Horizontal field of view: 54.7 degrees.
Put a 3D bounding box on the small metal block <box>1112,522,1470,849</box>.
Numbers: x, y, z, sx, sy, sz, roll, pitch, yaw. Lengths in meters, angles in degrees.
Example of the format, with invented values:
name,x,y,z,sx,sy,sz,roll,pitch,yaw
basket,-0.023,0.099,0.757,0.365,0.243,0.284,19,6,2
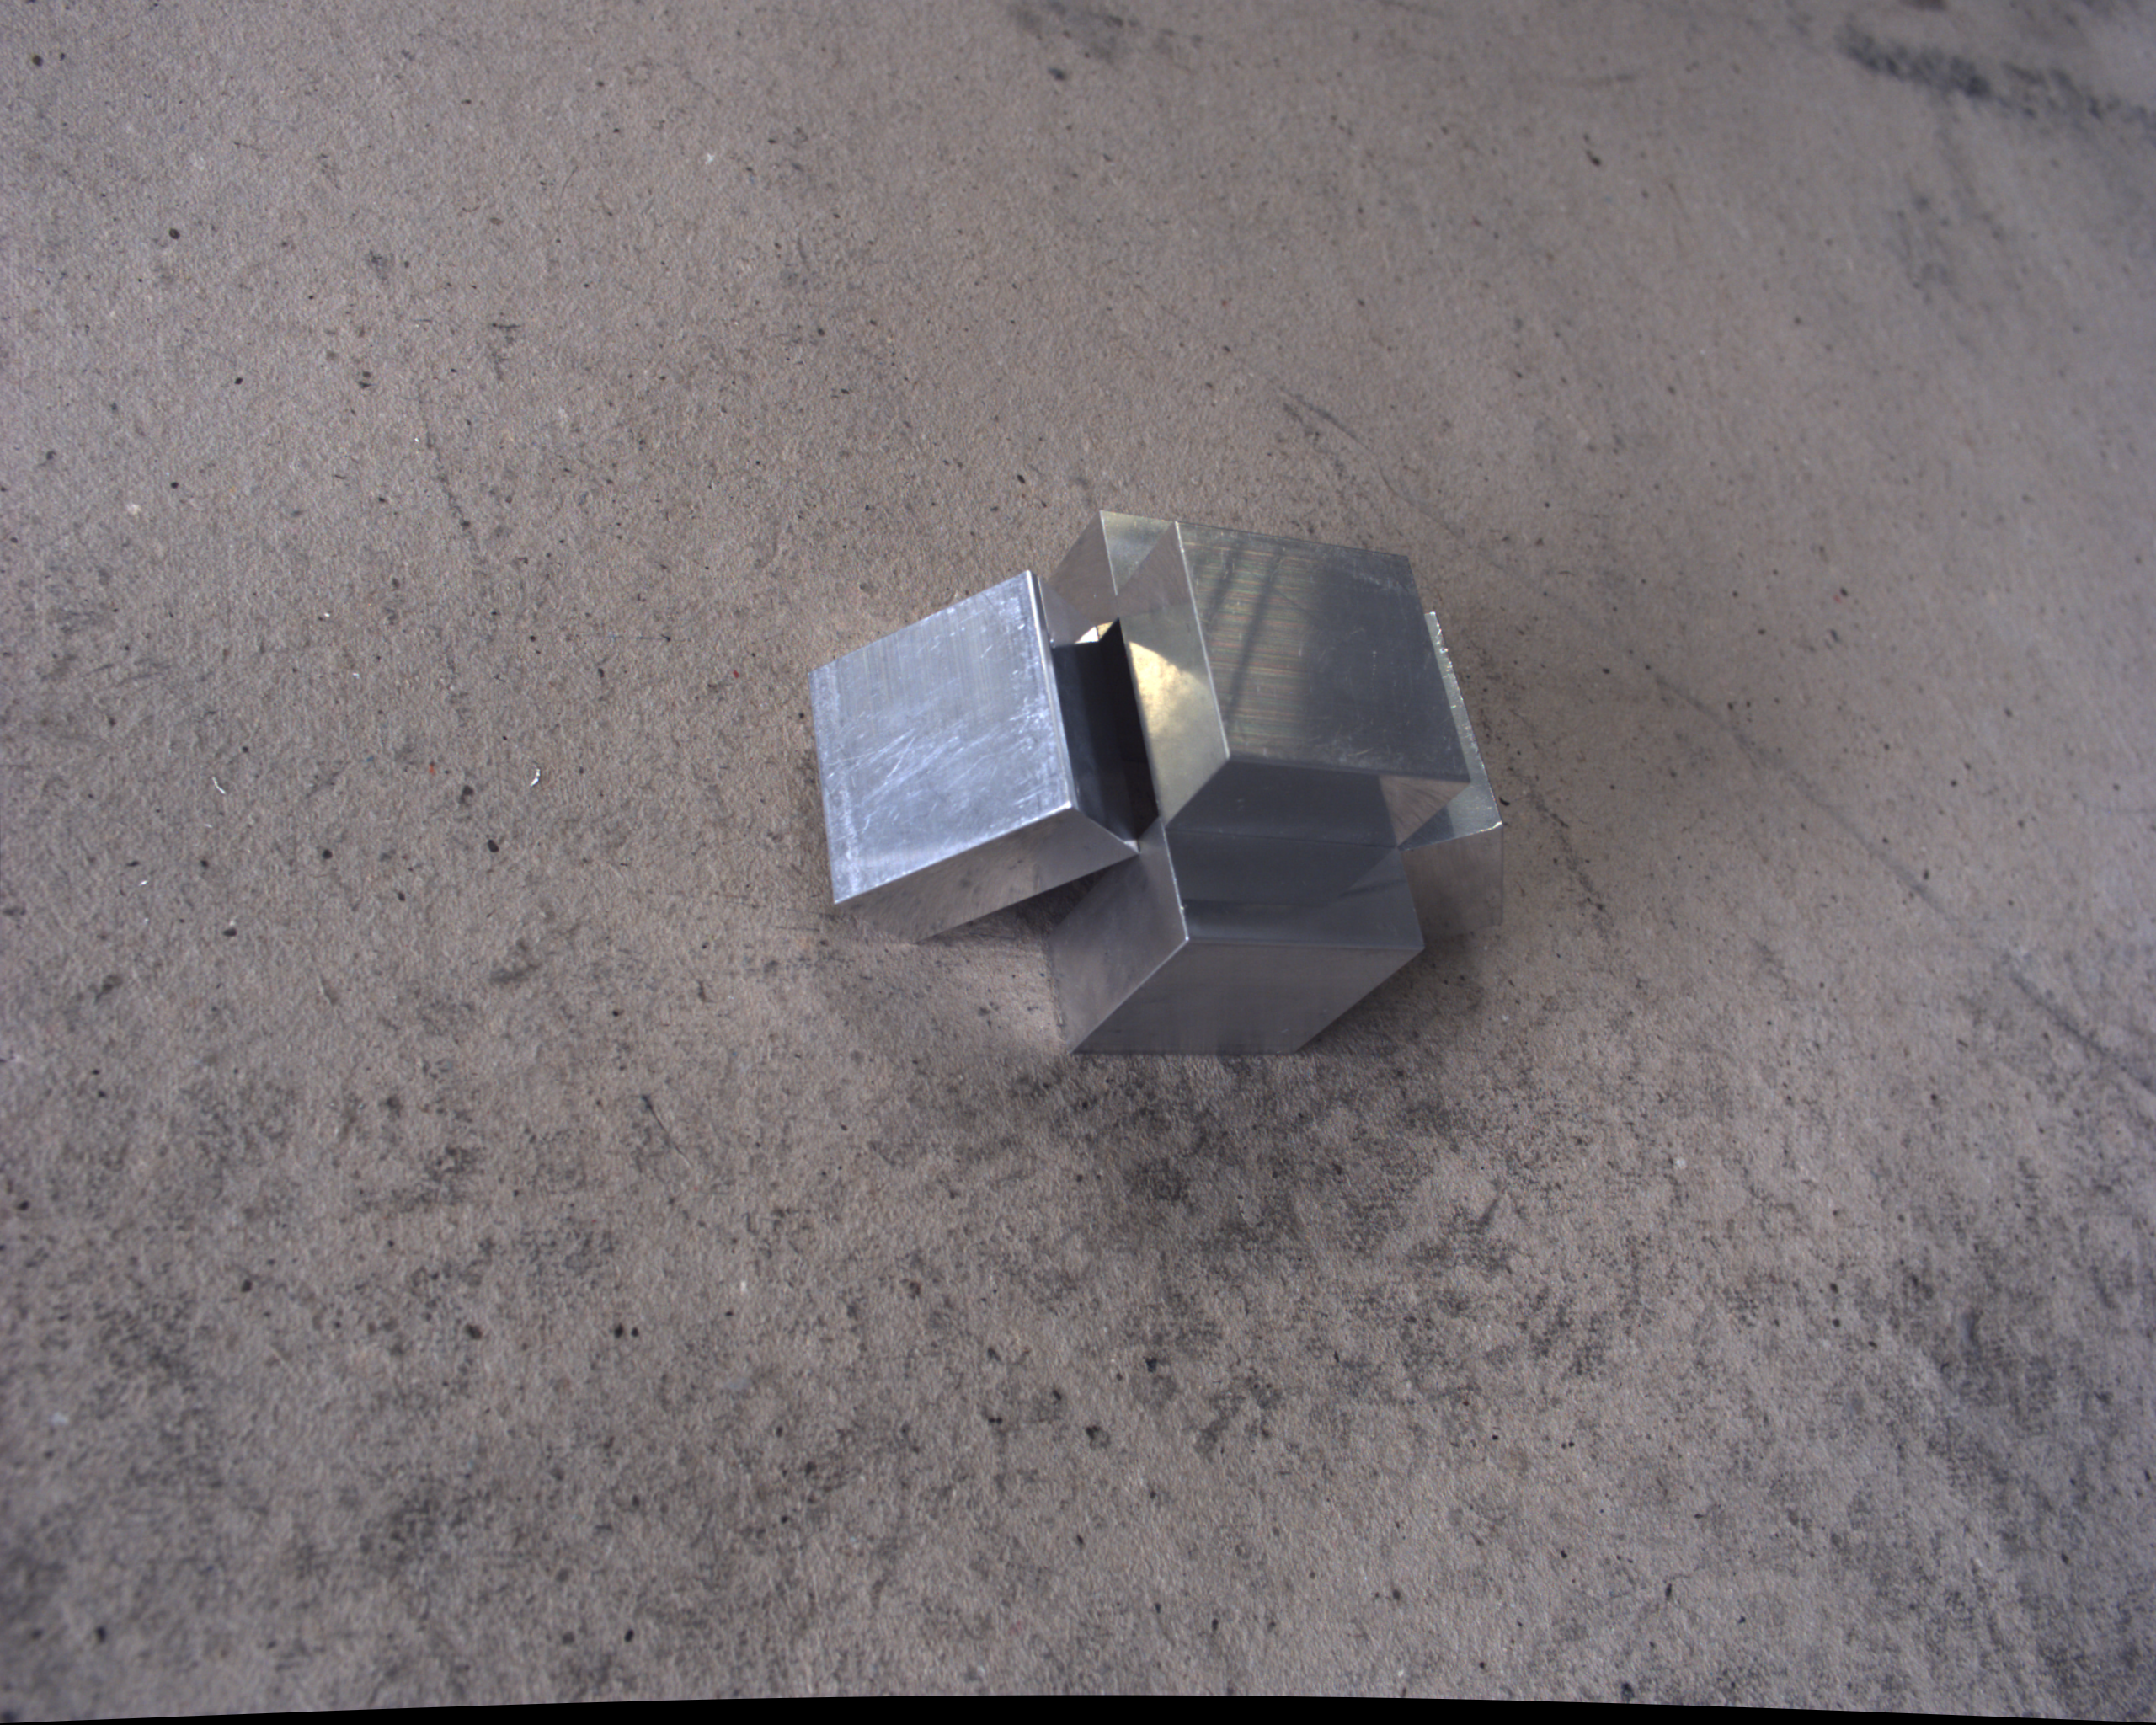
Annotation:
name,x,y,z,sx,sy,sz,roll,pitch,yaw
small metal block,0.038,-0.032,0.382,0.050,0.025,0.050,4,60,-26

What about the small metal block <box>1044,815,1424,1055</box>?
name,x,y,z,sx,sy,sz,roll,pitch,yaw
small metal block,0.028,0.015,0.396,0.050,0.050,0.025,3,61,-27

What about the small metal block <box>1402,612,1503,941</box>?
name,x,y,z,sx,sy,sz,roll,pitch,yaw
small metal block,0.069,-0.016,0.433,0.025,0.050,0.050,-14,65,5

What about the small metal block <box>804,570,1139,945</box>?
name,x,y,z,sx,sy,sz,roll,pitch,yaw
small metal block,-0.021,-0.019,0.387,0.025,0.050,0.050,34,40,-54

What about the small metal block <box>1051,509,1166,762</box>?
name,x,y,z,sx,sy,sz,roll,pitch,yaw
small metal block,0.018,-0.044,0.426,0.050,0.050,0.025,4,61,-26
